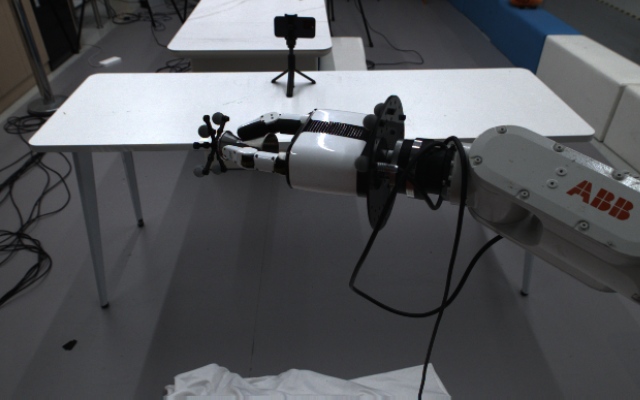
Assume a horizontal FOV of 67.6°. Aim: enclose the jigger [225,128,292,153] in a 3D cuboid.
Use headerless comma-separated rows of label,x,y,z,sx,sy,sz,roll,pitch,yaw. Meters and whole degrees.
jigger,-0.088,-0.071,0.630,0.071,0.043,0.043,7,34,23
